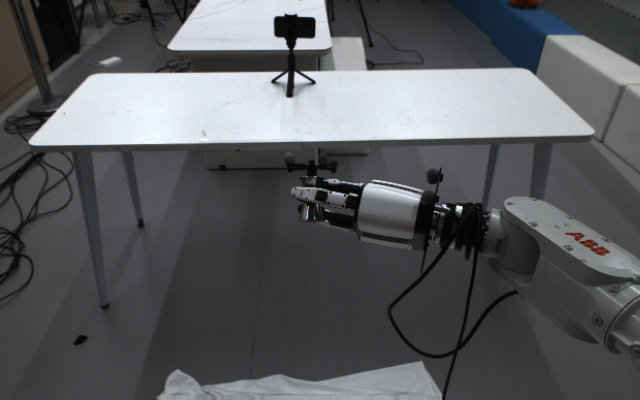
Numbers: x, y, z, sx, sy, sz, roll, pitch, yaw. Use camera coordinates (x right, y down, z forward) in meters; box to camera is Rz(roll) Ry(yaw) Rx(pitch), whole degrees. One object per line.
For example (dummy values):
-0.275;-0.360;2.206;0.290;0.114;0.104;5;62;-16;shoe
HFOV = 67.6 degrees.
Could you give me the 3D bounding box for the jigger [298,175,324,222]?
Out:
-0.014;-0.002;0.749;0.043;0.071;0.043;1;-5;0;jigger
